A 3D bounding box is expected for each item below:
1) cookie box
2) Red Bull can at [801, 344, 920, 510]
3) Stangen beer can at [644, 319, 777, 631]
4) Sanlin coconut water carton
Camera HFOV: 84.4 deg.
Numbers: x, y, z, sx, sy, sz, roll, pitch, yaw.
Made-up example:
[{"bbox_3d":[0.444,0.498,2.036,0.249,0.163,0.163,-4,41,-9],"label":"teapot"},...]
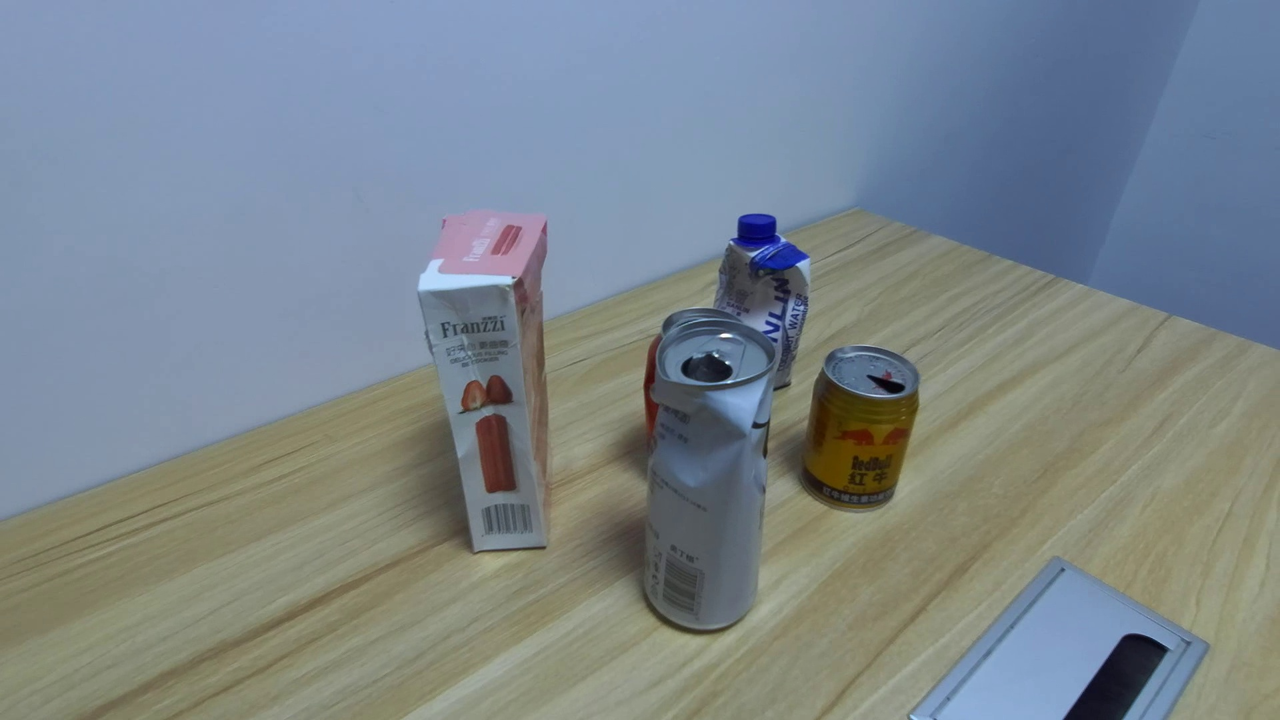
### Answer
[{"bbox_3d":[-0.084,0.017,0.423,0.059,0.186,0.105,1,32,-2],"label":"cookie box"},{"bbox_3d":[0.144,0.045,0.466,0.067,0.093,0.067,2,31,-1],"label":"Red Bull can"},{"bbox_3d":[0.035,0.065,0.366,0.066,0.166,0.066,12,35,19],"label":"Stangen beer can"},{"bbox_3d":[0.091,-0.037,0.545,0.057,0.145,0.068,-21,45,-18],"label":"Sanlin coconut water carton"}]
